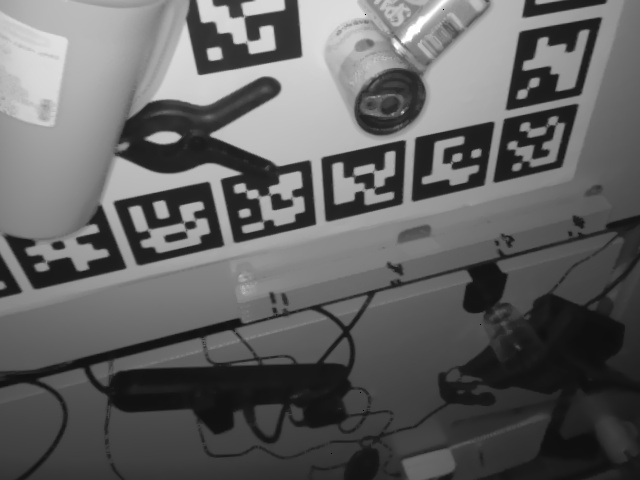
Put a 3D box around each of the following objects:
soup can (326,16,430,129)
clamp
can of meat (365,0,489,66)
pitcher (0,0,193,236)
[{"bbox_3d":[0.052,-0.160,0.654,0.068,0.102,0.067,-12,133,-13],"label":"soup can"},{"bbox_3d":[-0.106,-0.110,0.697,0.166,0.037,0.121,-10,139,-8],"label":"clamp"},{"bbox_3d":[0.093,-0.216,0.610,0.083,0.102,0.058,-42,131,14],"label":"can of meat"},{"bbox_3d":[-0.207,-0.121,0.559,0.192,0.133,0.239,-16,148,-39],"label":"pitcher"}]
